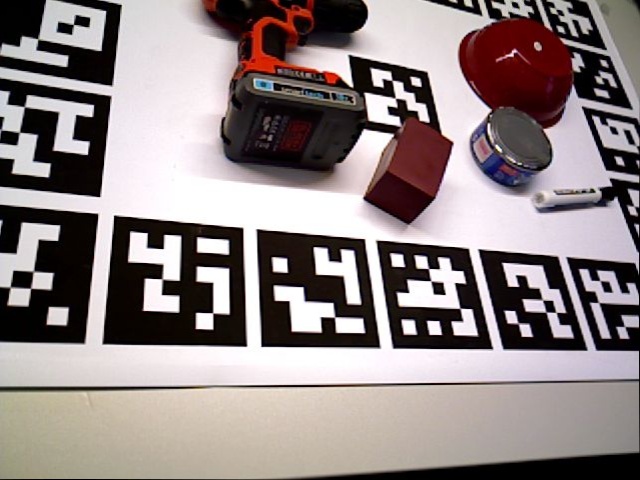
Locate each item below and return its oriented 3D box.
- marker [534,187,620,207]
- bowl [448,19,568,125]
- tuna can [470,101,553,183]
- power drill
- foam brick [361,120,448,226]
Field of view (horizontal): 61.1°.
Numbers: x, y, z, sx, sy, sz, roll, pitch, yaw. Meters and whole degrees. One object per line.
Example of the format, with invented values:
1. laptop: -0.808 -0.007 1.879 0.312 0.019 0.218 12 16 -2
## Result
1. marker: 0.289 -0.049 0.603 0.119 0.020 0.019 -4 68 -25
2. bowl: 0.241 -0.217 0.660 0.160 0.056 0.159 9 55 -14
3. tuna can: 0.207 -0.105 0.589 0.085 0.034 0.084 11 61 -20
4. power drill: -0.035 -0.176 0.515 0.182 0.059 0.185 5 60 -25
5. foam brick: 0.081 -0.064 0.513 0.051 0.054 0.076 27 58 -10
